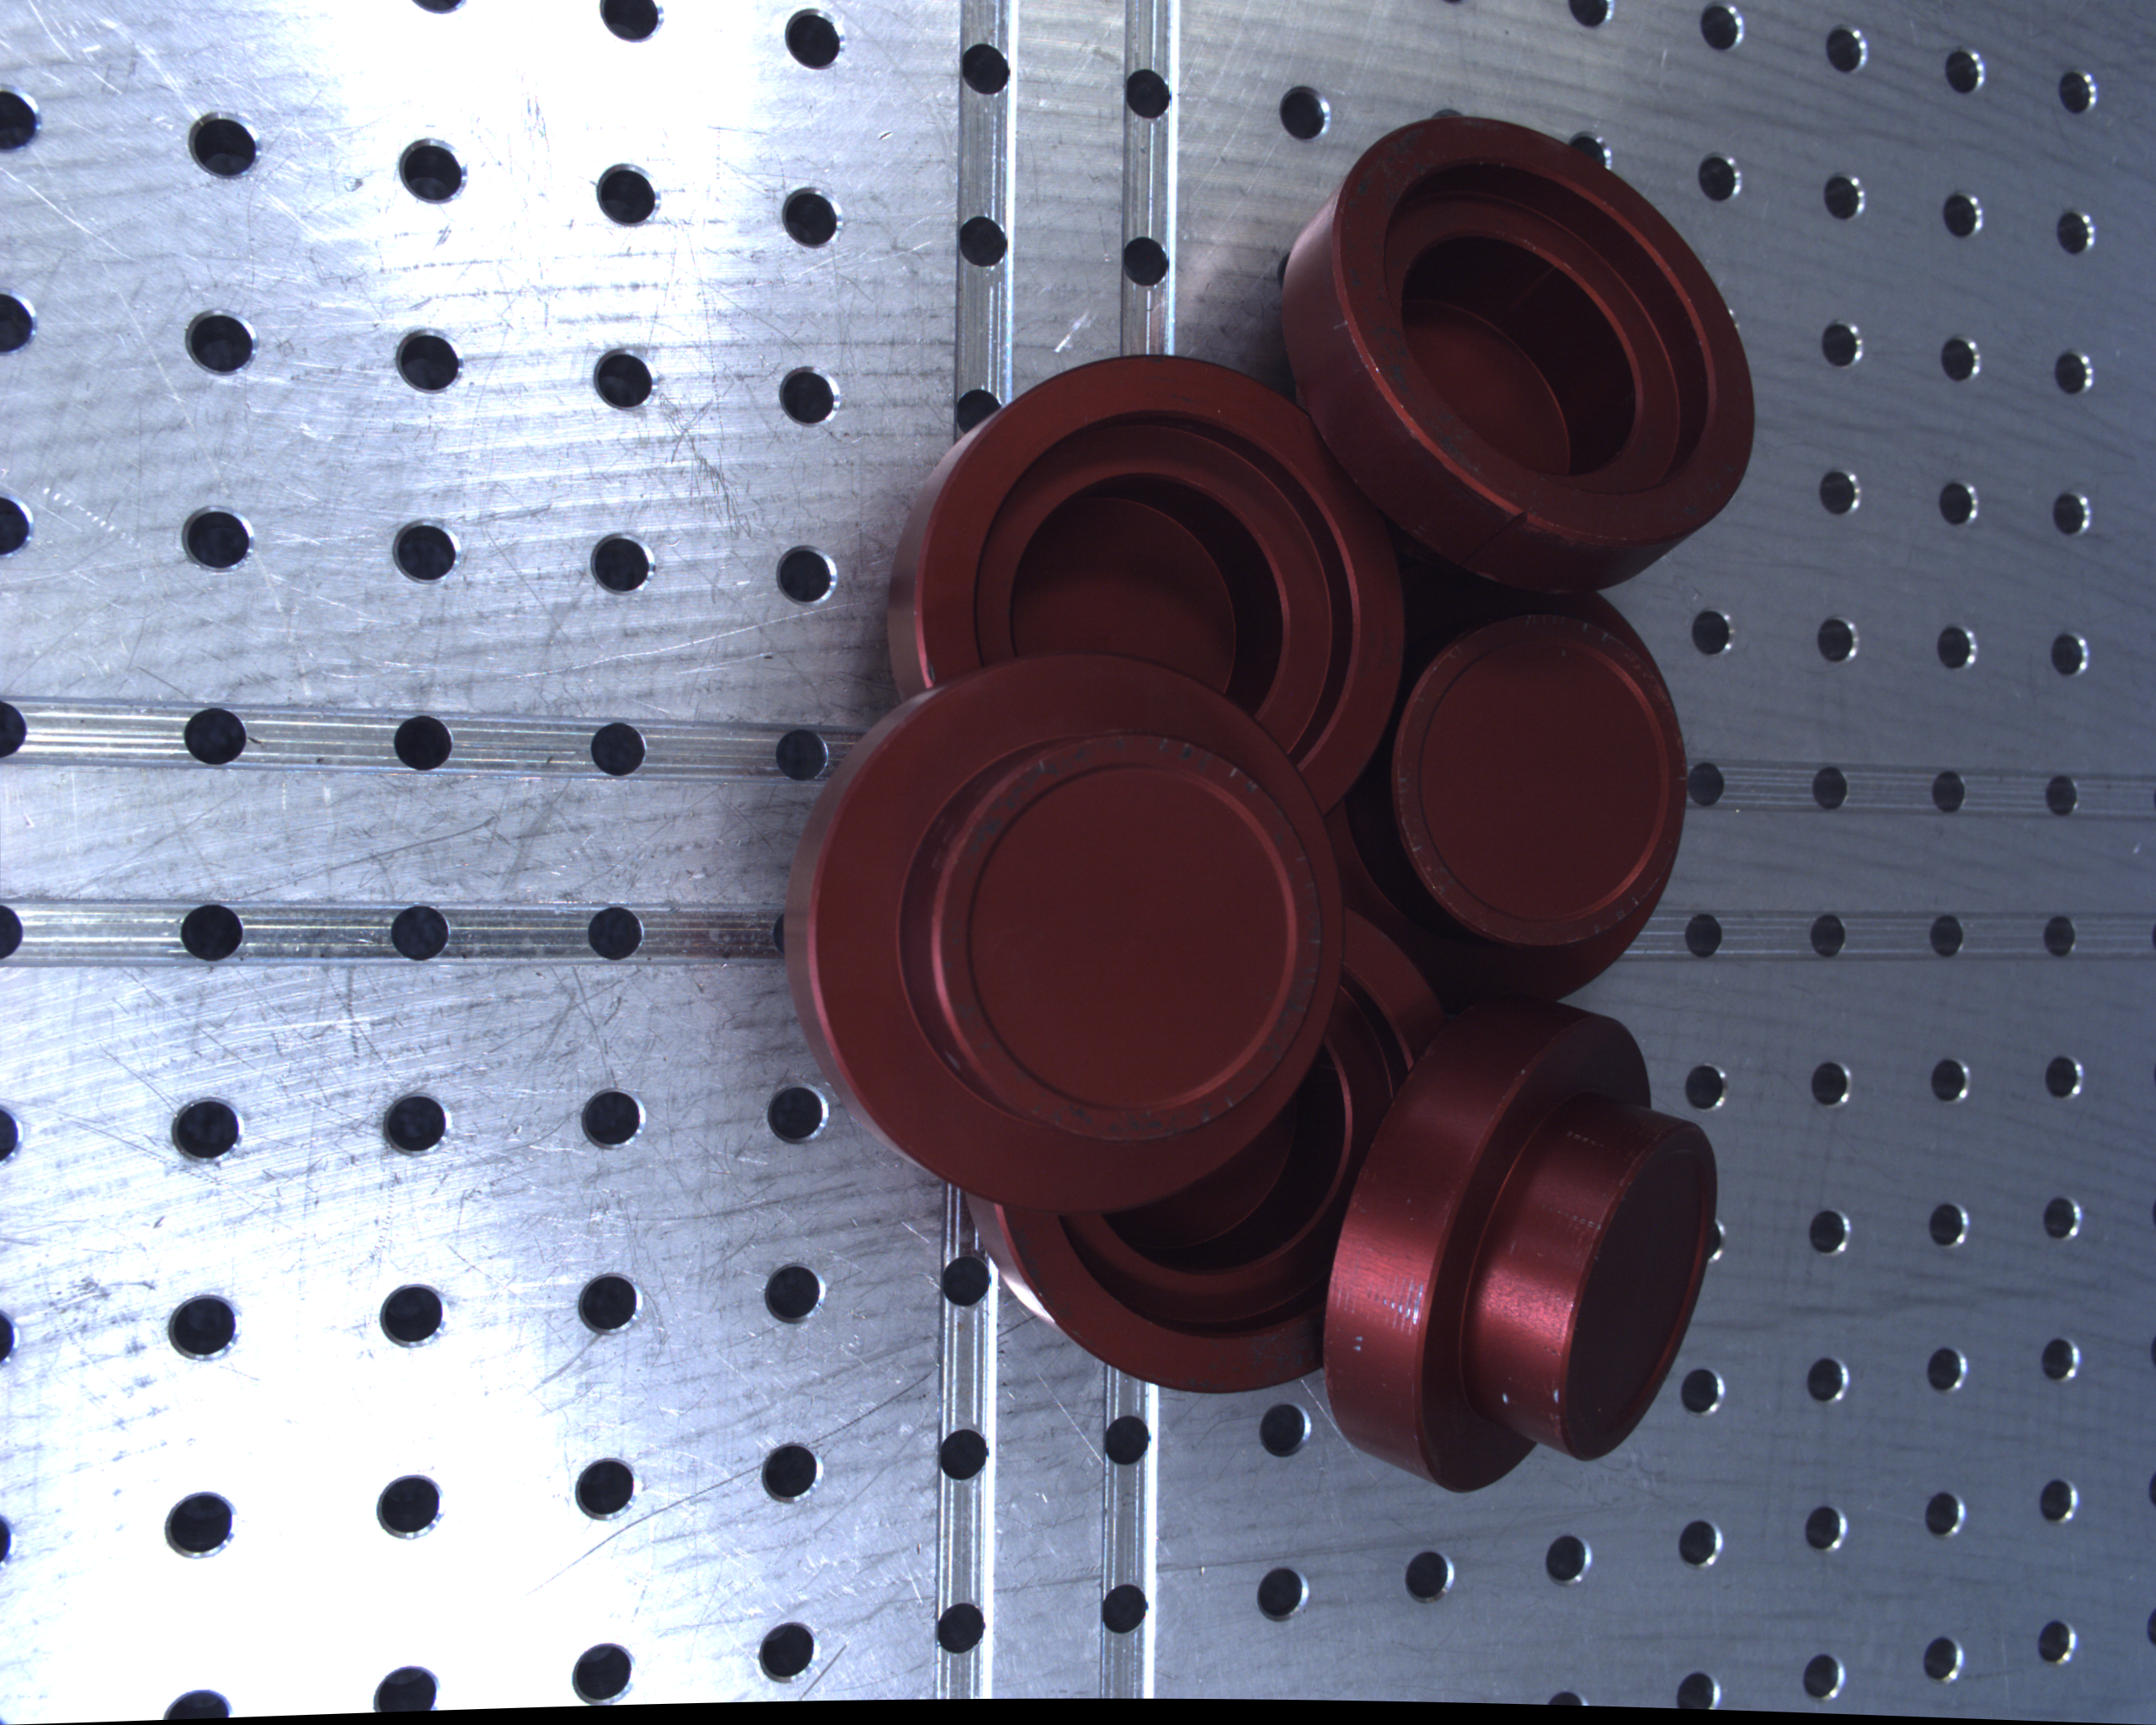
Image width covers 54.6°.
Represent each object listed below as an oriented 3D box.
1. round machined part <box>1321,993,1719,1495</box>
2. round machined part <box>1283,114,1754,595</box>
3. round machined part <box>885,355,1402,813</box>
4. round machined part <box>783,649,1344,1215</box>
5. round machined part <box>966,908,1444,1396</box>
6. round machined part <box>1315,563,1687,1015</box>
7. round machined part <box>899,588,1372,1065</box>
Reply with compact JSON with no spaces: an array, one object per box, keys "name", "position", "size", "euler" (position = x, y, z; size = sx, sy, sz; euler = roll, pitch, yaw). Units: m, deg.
[{"name":"round machined part","position":[0.092,0.078,0.411],"size":[0.099,0.042,0.097],"euler":[-24,121,-46]},{"name":"round machined part","position":[0.084,-0.097,0.422],"size":[0.099,0.042,0.098],"euler":[10,65,-23]},{"name":"round machined part","position":[0.010,-0.046,0.407],"size":[0.099,0.042,0.097],"euler":[0,90,-20]},{"name":"round machined part","position":[0.002,0.012,0.359],"size":[0.099,0.042,0.097],"euler":[0,90,-20]},{"name":"round machined part","position":[0.023,0.051,0.412],"size":[0.099,0.042,0.097],"euler":[0,90,-20]},{"name":"round machined part","position":[0.086,-0.016,0.434],"size":[0.099,0.042,0.097],"euler":[0,90,-20]},{"name":"round machined part","position":[0.004,-0.002,0.404],"size":[0.099,0.042,0.097],"euler":[0,90,-20]}]
